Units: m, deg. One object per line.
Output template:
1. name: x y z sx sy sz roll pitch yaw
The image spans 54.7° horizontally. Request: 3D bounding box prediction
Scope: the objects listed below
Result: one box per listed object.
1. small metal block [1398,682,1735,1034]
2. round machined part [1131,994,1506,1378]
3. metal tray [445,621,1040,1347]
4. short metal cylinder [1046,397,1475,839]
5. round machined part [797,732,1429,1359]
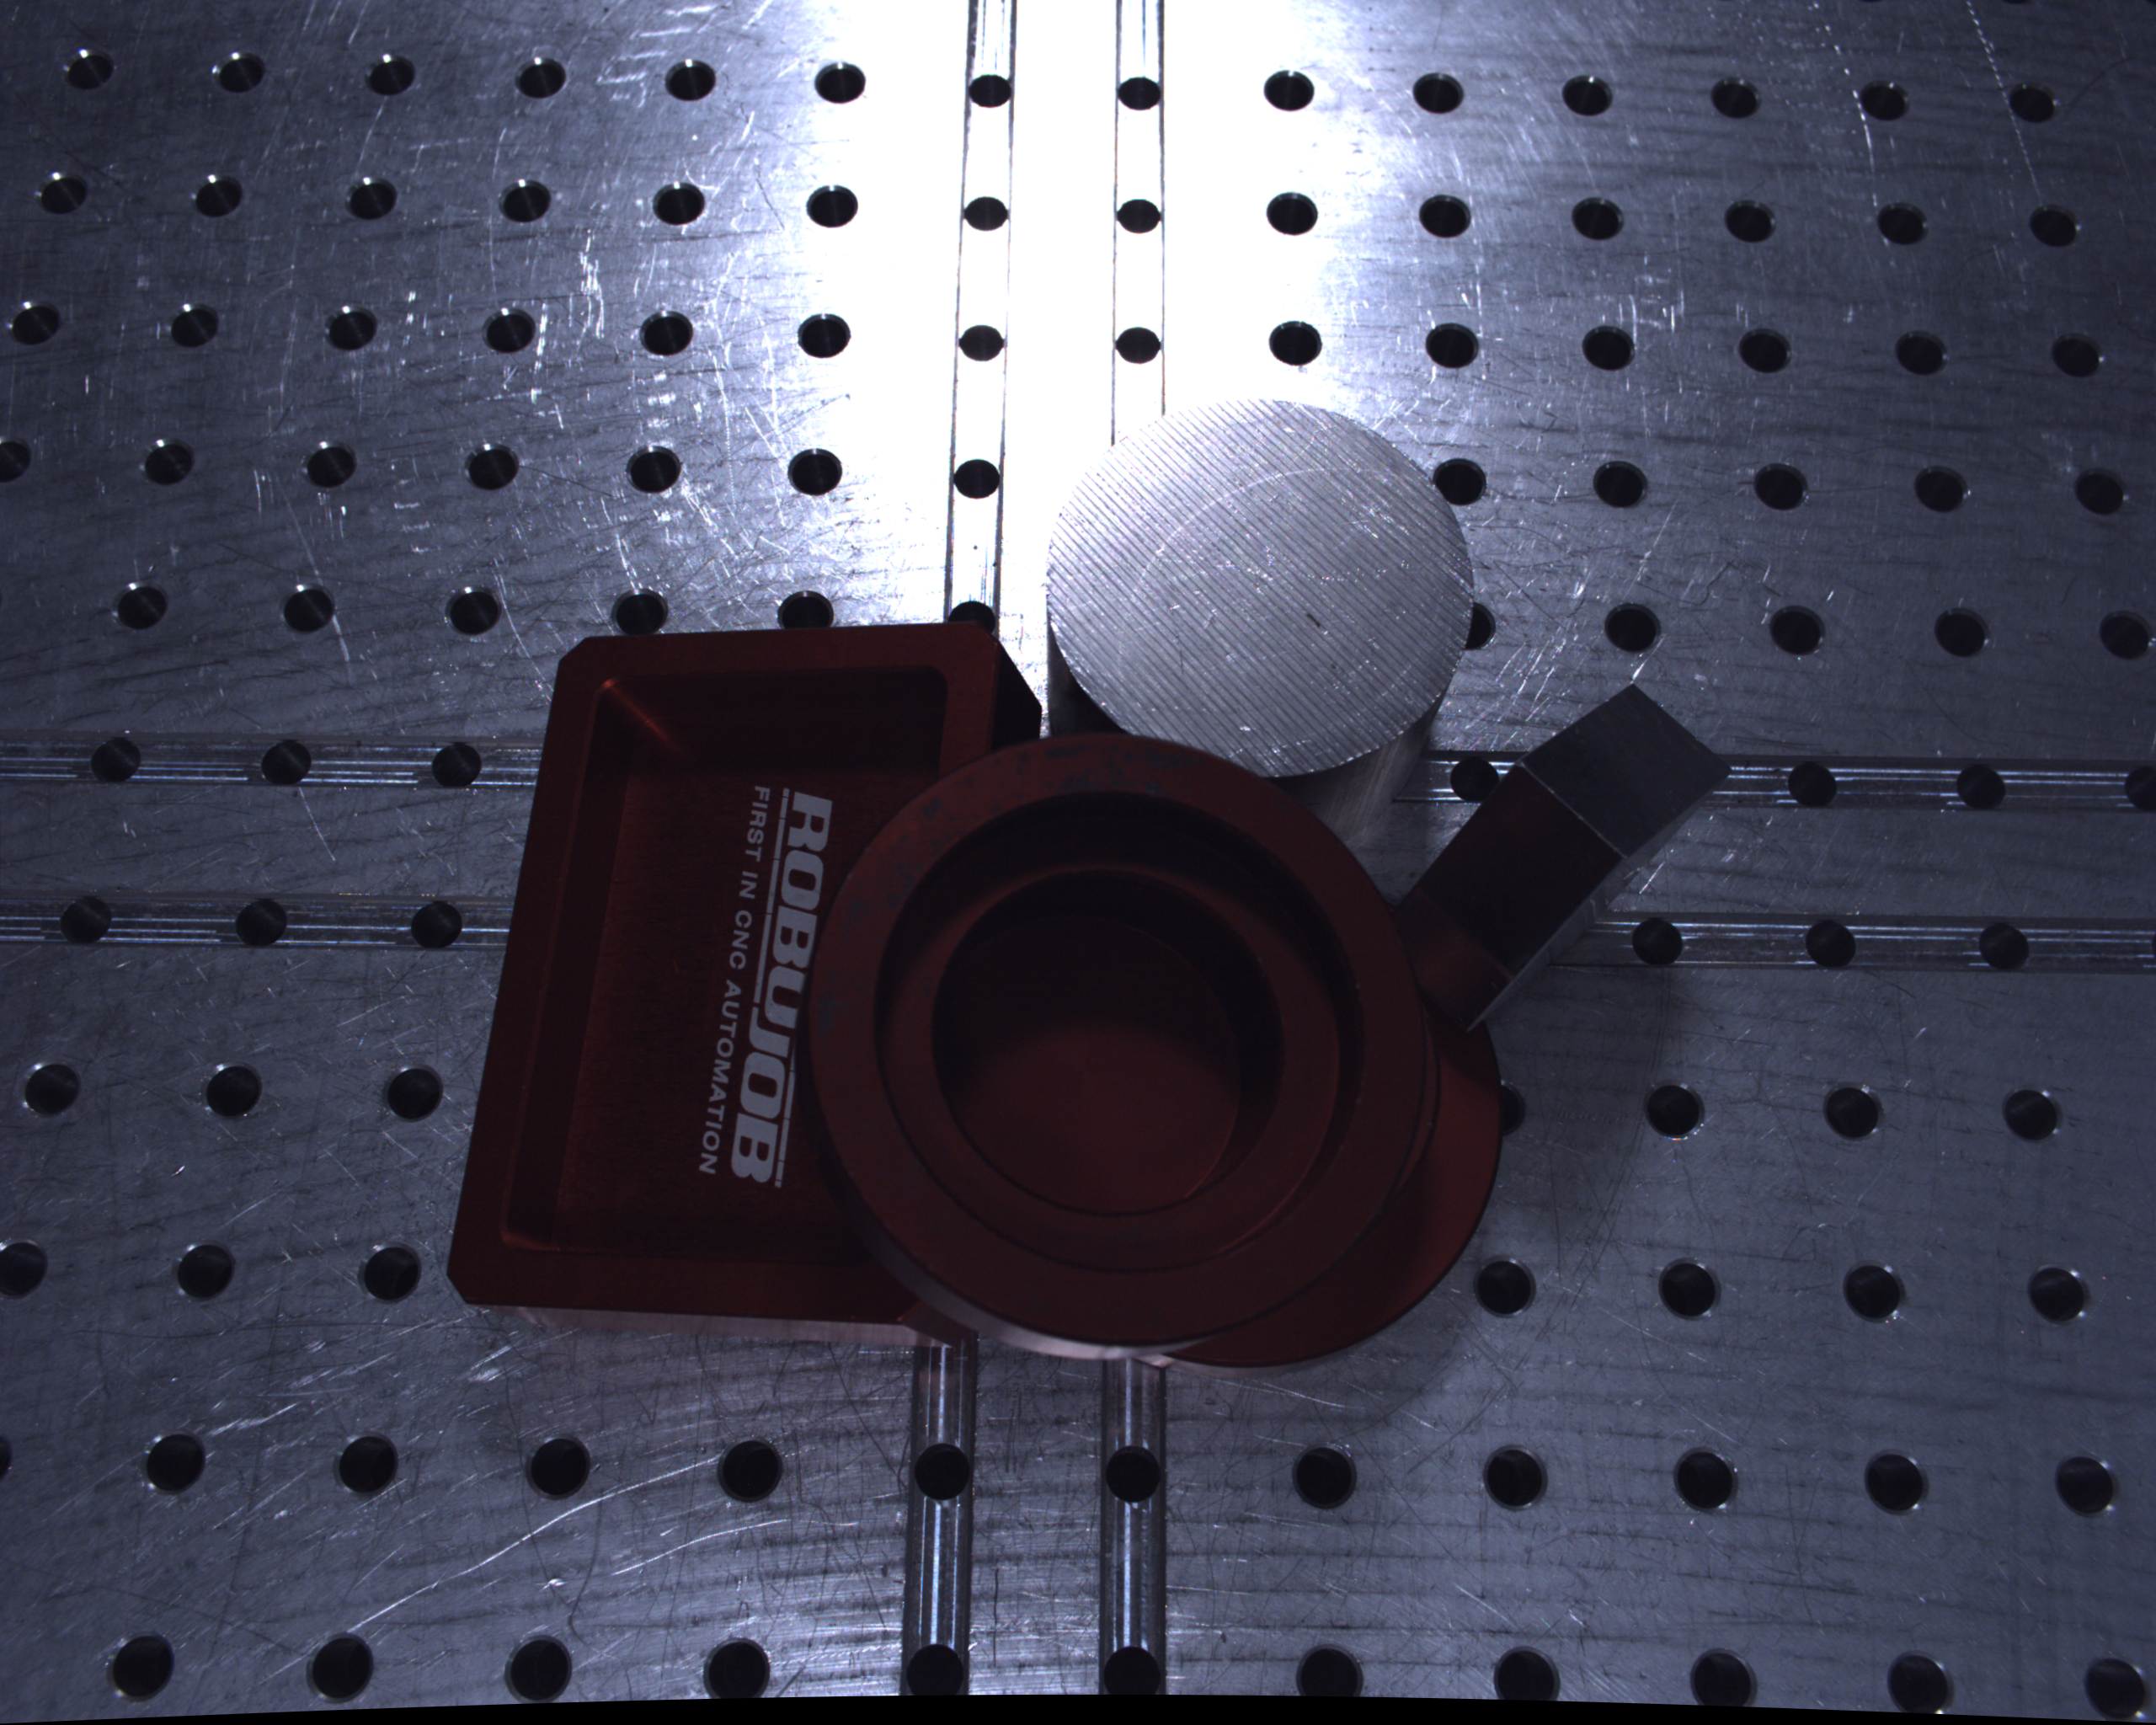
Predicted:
1. small metal block: 0.089 -0.001 0.390 0.025 0.050 0.050 45 41 14
2. round machined part: 0.030 0.044 0.386 0.099 0.042 0.098 0 70 -1
3. metal tray: -0.059 0.021 0.389 0.090 0.030 0.130 -1 69 15
4. short metal cylinder: 0.034 -0.045 0.415 0.081 0.050 0.080 0 70 0
5. round machined part: 0.003 0.031 0.341 0.099 0.042 0.098 3 71 -10
